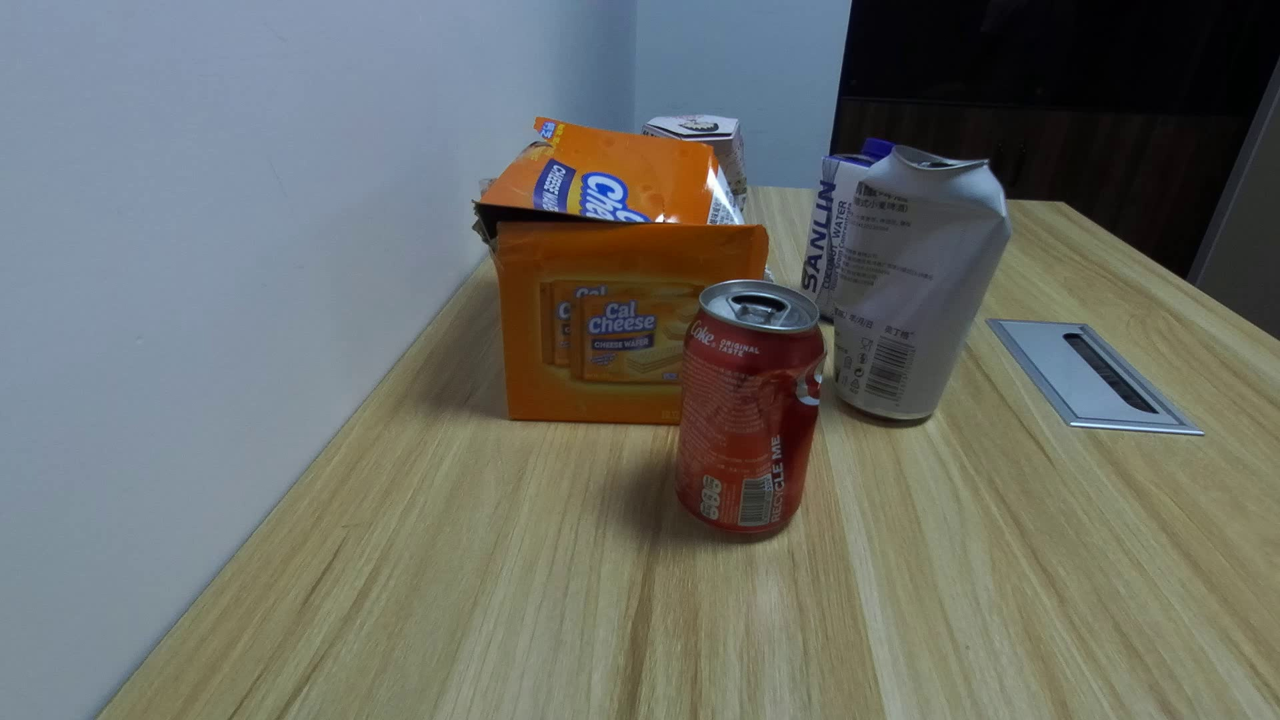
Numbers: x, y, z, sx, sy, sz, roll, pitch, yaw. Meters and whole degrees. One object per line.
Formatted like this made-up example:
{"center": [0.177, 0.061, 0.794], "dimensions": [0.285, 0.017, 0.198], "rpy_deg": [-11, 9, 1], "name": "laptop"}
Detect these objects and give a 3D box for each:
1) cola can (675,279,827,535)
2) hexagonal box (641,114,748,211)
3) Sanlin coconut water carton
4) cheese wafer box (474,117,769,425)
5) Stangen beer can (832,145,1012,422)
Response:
{"center": [0.052, 0.023, 0.341], "dimensions": [0.066, 0.117, 0.066], "rpy_deg": [-19, 34, -34], "name": "cola can"}
{"center": [0.047, -0.149, 0.650], "dimensions": [0.091, 0.134, 0.090], "rpy_deg": [16, 35, 19], "name": "hexagonal box"}
{"center": [0.174, -0.103, 0.562], "dimensions": [0.058, 0.142, 0.077], "rpy_deg": [-17, 32, -35], "name": "Sanlin coconut water carton"}
{"center": [0.002, -0.074, 0.494], "dimensions": [0.191, 0.145, 0.218], "rpy_deg": [1, 28, 0], "name": "cheese wafer box"}
{"center": [0.163, -0.042, 0.426], "dimensions": [0.077, 0.162, 0.065], "rpy_deg": [-1, 30, -6], "name": "Stangen beer can"}
